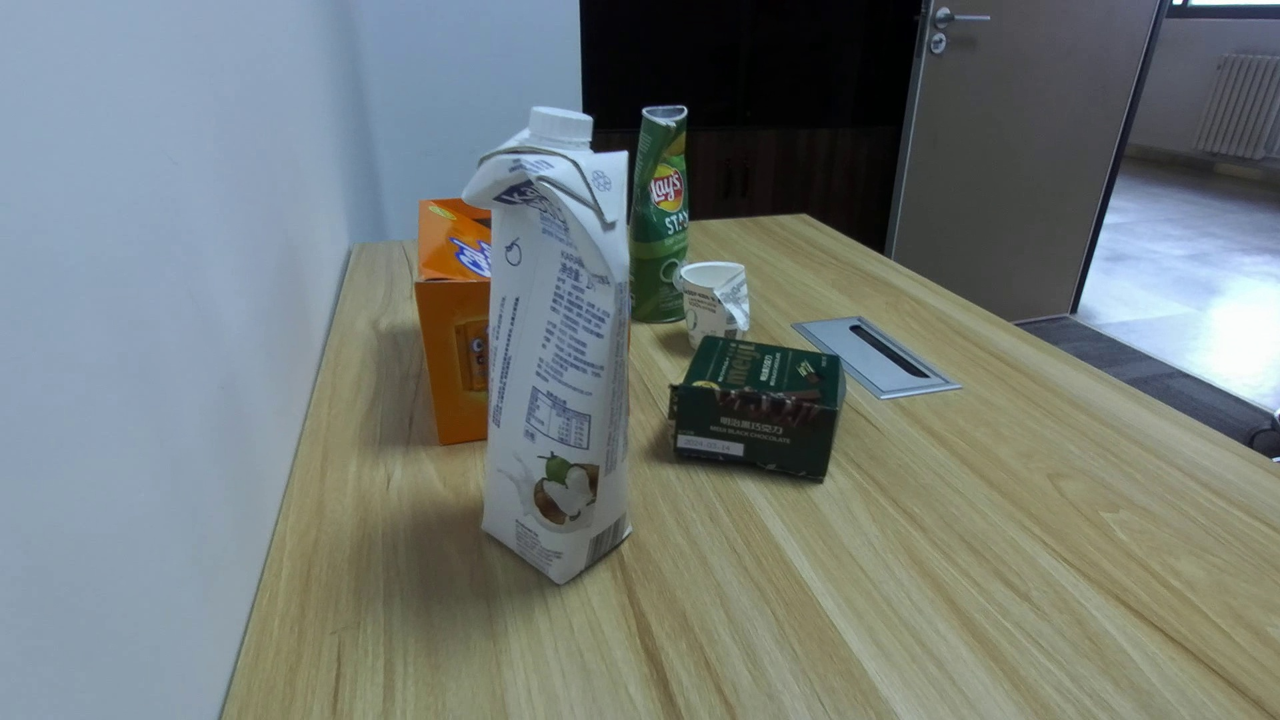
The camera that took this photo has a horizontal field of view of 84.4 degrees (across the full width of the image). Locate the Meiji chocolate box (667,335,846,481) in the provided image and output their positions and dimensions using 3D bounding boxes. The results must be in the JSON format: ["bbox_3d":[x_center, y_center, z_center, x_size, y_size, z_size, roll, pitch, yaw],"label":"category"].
[{"bbox_3d":[0.088,0.030,0.519,0.122,0.058,0.116,8,24,12],"label":"Meiji chocolate box"}]

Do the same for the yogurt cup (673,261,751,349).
[{"bbox_3d":[0.069,-0.047,0.654,0.067,0.070,0.067,-1,28,1],"label":"yogurt cup"}]

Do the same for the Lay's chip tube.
[{"bbox_3d":[0.019,-0.142,0.699,0.069,0.201,0.077,-6,30,-12],"label":"Lay's chip tube"}]

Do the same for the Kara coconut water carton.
[{"bbox_3d":[-0.045,-0.004,0.373,0.114,0.238,0.069,21,31,36],"label":"Kara coconut water carton"}]
